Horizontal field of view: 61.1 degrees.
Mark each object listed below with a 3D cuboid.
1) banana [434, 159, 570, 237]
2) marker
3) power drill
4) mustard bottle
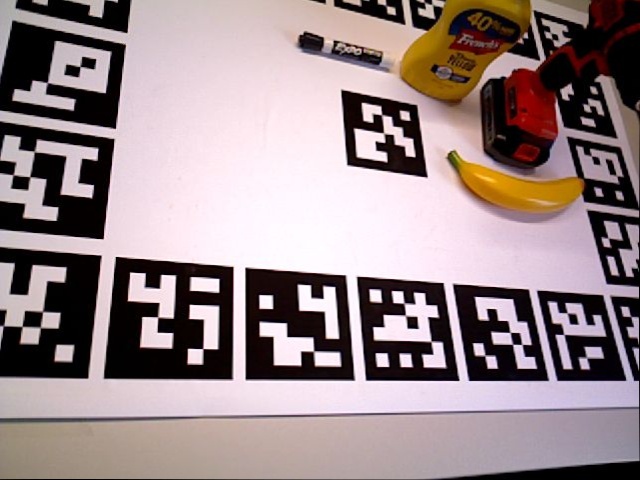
[{"bbox_3d":[0.225,-0.041,0.661,0.196,0.039,0.073,15,66,-15],"label":"banana"},{"bbox_3d":[0.014,-0.215,0.651,0.120,0.020,0.019,10,67,-19],"label":"marker"},{"bbox_3d":[0.268,-0.156,0.612,0.057,0.191,0.182,20,60,-16],"label":"power drill"},{"bbox_3d":[0.163,-0.223,0.615,0.095,0.196,0.057,18,62,-16],"label":"mustard bottle"}]
